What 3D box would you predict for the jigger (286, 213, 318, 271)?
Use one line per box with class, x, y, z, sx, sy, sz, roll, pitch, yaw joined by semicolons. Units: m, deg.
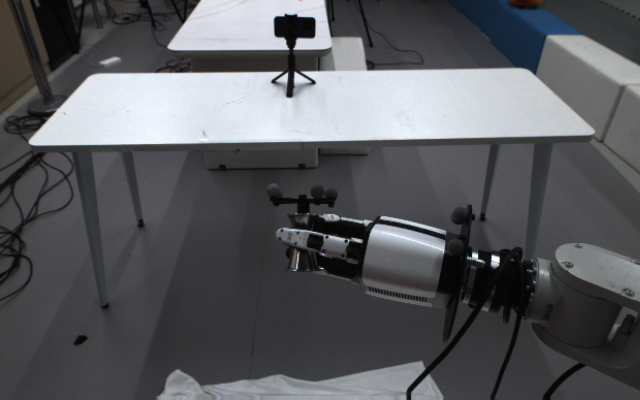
jigger;-0.021;0.052;0.588;0.043;0.071;0.043;1;-5;0
